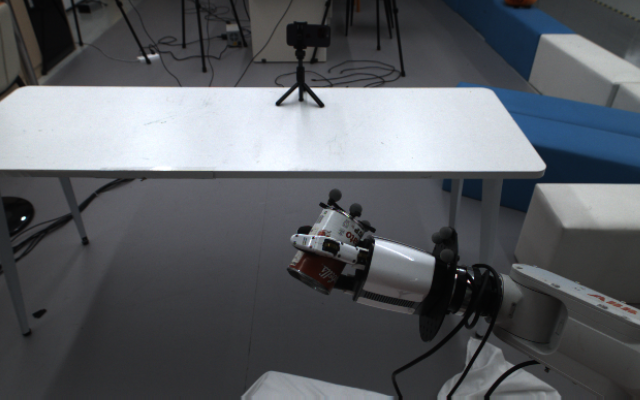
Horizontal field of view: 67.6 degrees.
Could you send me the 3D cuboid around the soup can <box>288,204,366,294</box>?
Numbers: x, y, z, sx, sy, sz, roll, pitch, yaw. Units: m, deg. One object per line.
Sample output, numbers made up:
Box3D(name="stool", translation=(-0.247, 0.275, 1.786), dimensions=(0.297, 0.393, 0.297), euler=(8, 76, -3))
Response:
Box3D(name="soup can", translation=(0.010, 0.068, 0.662), dimensions=(0.067, 0.067, 0.101), euler=(23, 72, 28))
